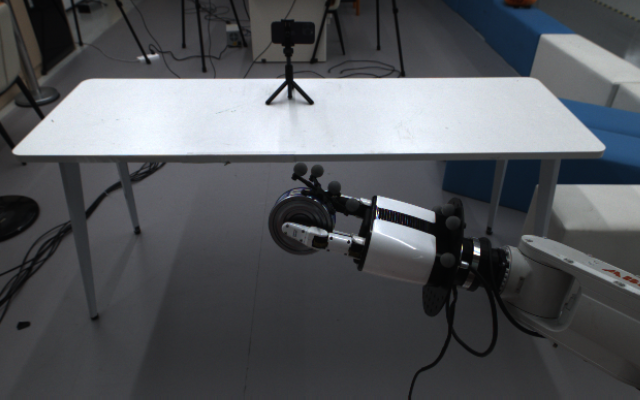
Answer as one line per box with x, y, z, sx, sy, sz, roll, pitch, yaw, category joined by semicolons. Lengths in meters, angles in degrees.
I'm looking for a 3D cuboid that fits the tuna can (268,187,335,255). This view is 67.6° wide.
-0.022;0.028;0.633;0.085;0.085;0.034;6;19;6;tuna can
